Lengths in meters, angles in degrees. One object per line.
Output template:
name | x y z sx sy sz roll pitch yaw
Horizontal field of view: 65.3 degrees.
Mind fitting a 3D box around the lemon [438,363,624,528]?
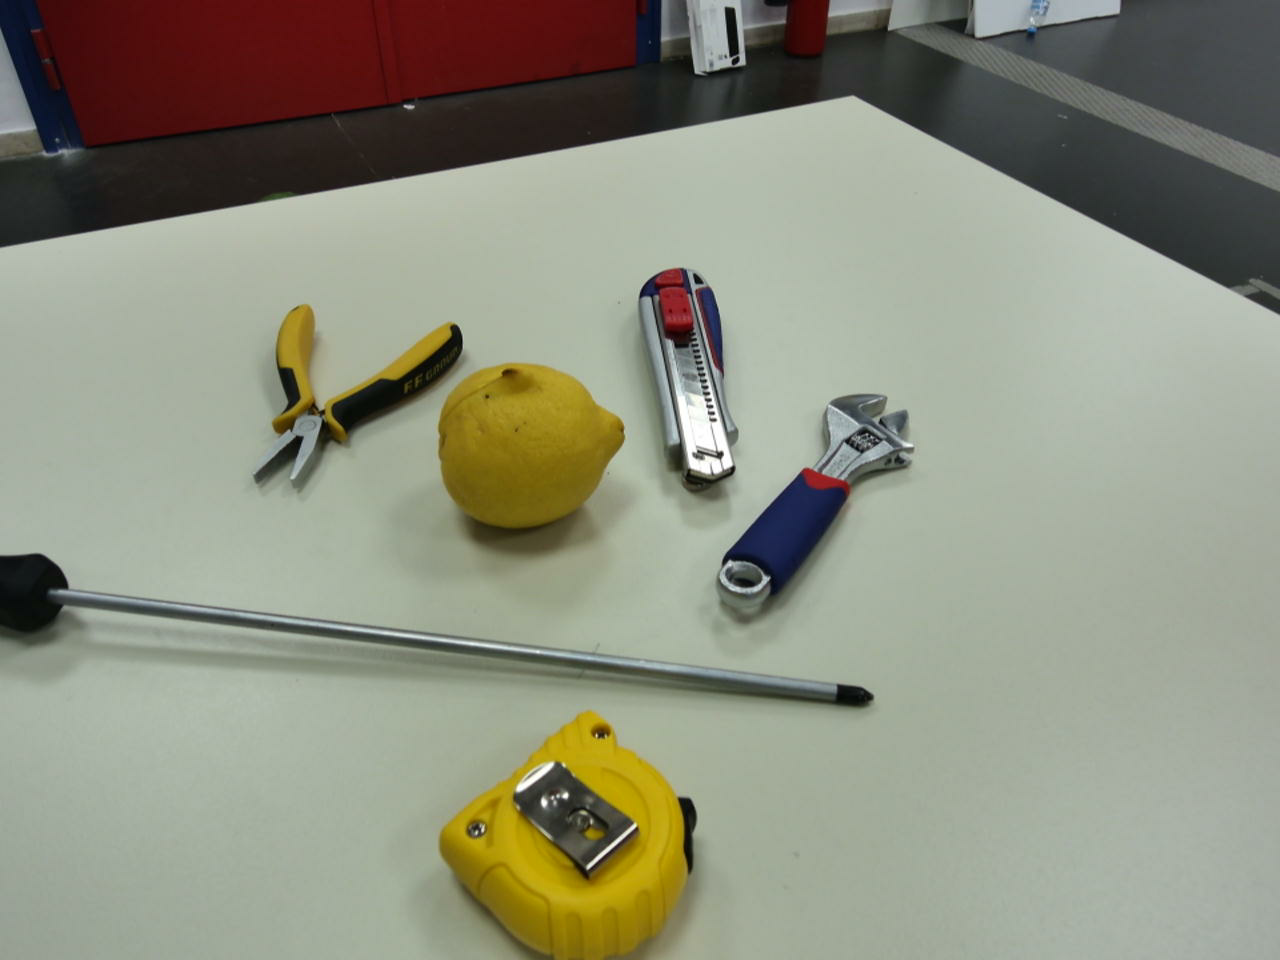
lemon | -0.049 -0.017 0.412 0.071 0.071 0.070 20 41 22
